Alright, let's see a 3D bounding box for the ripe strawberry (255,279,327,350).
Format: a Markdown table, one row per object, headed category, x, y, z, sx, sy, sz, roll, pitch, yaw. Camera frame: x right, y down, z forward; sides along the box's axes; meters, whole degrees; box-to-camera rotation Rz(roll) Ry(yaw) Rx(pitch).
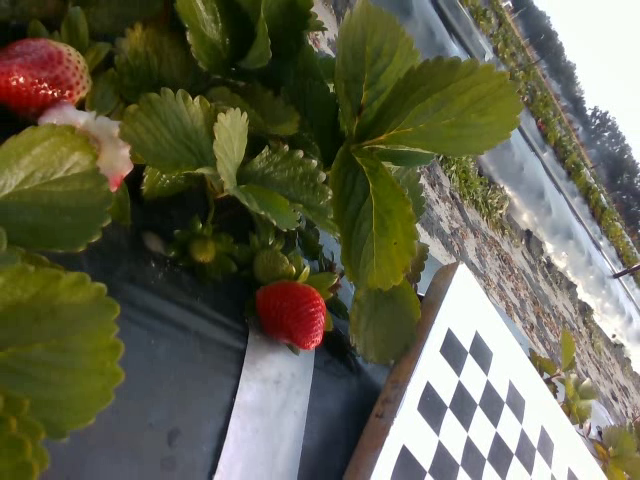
| category | x | y | z | sx | sy | sz | roll | pitch | yaw |
| --- | --- | --- | --- | --- | --- | --- | --- | --- | --- |
| ripe strawberry | -0.009 | 0.040 | 0.294 | 0.036 | 0.050 | 0.055 | -25 | 27 | 21 |
